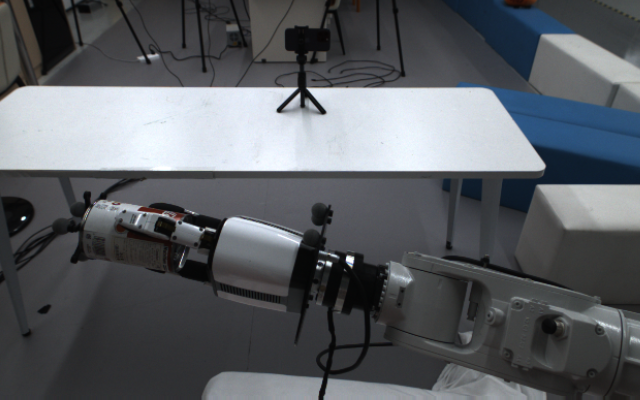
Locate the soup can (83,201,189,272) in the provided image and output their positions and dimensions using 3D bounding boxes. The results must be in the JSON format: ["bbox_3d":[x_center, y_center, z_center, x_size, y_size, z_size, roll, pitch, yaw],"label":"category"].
[{"bbox_3d":[-0.199,0.041,0.538,0.101,0.067,0.067,10,35,-1],"label":"soup can"}]
